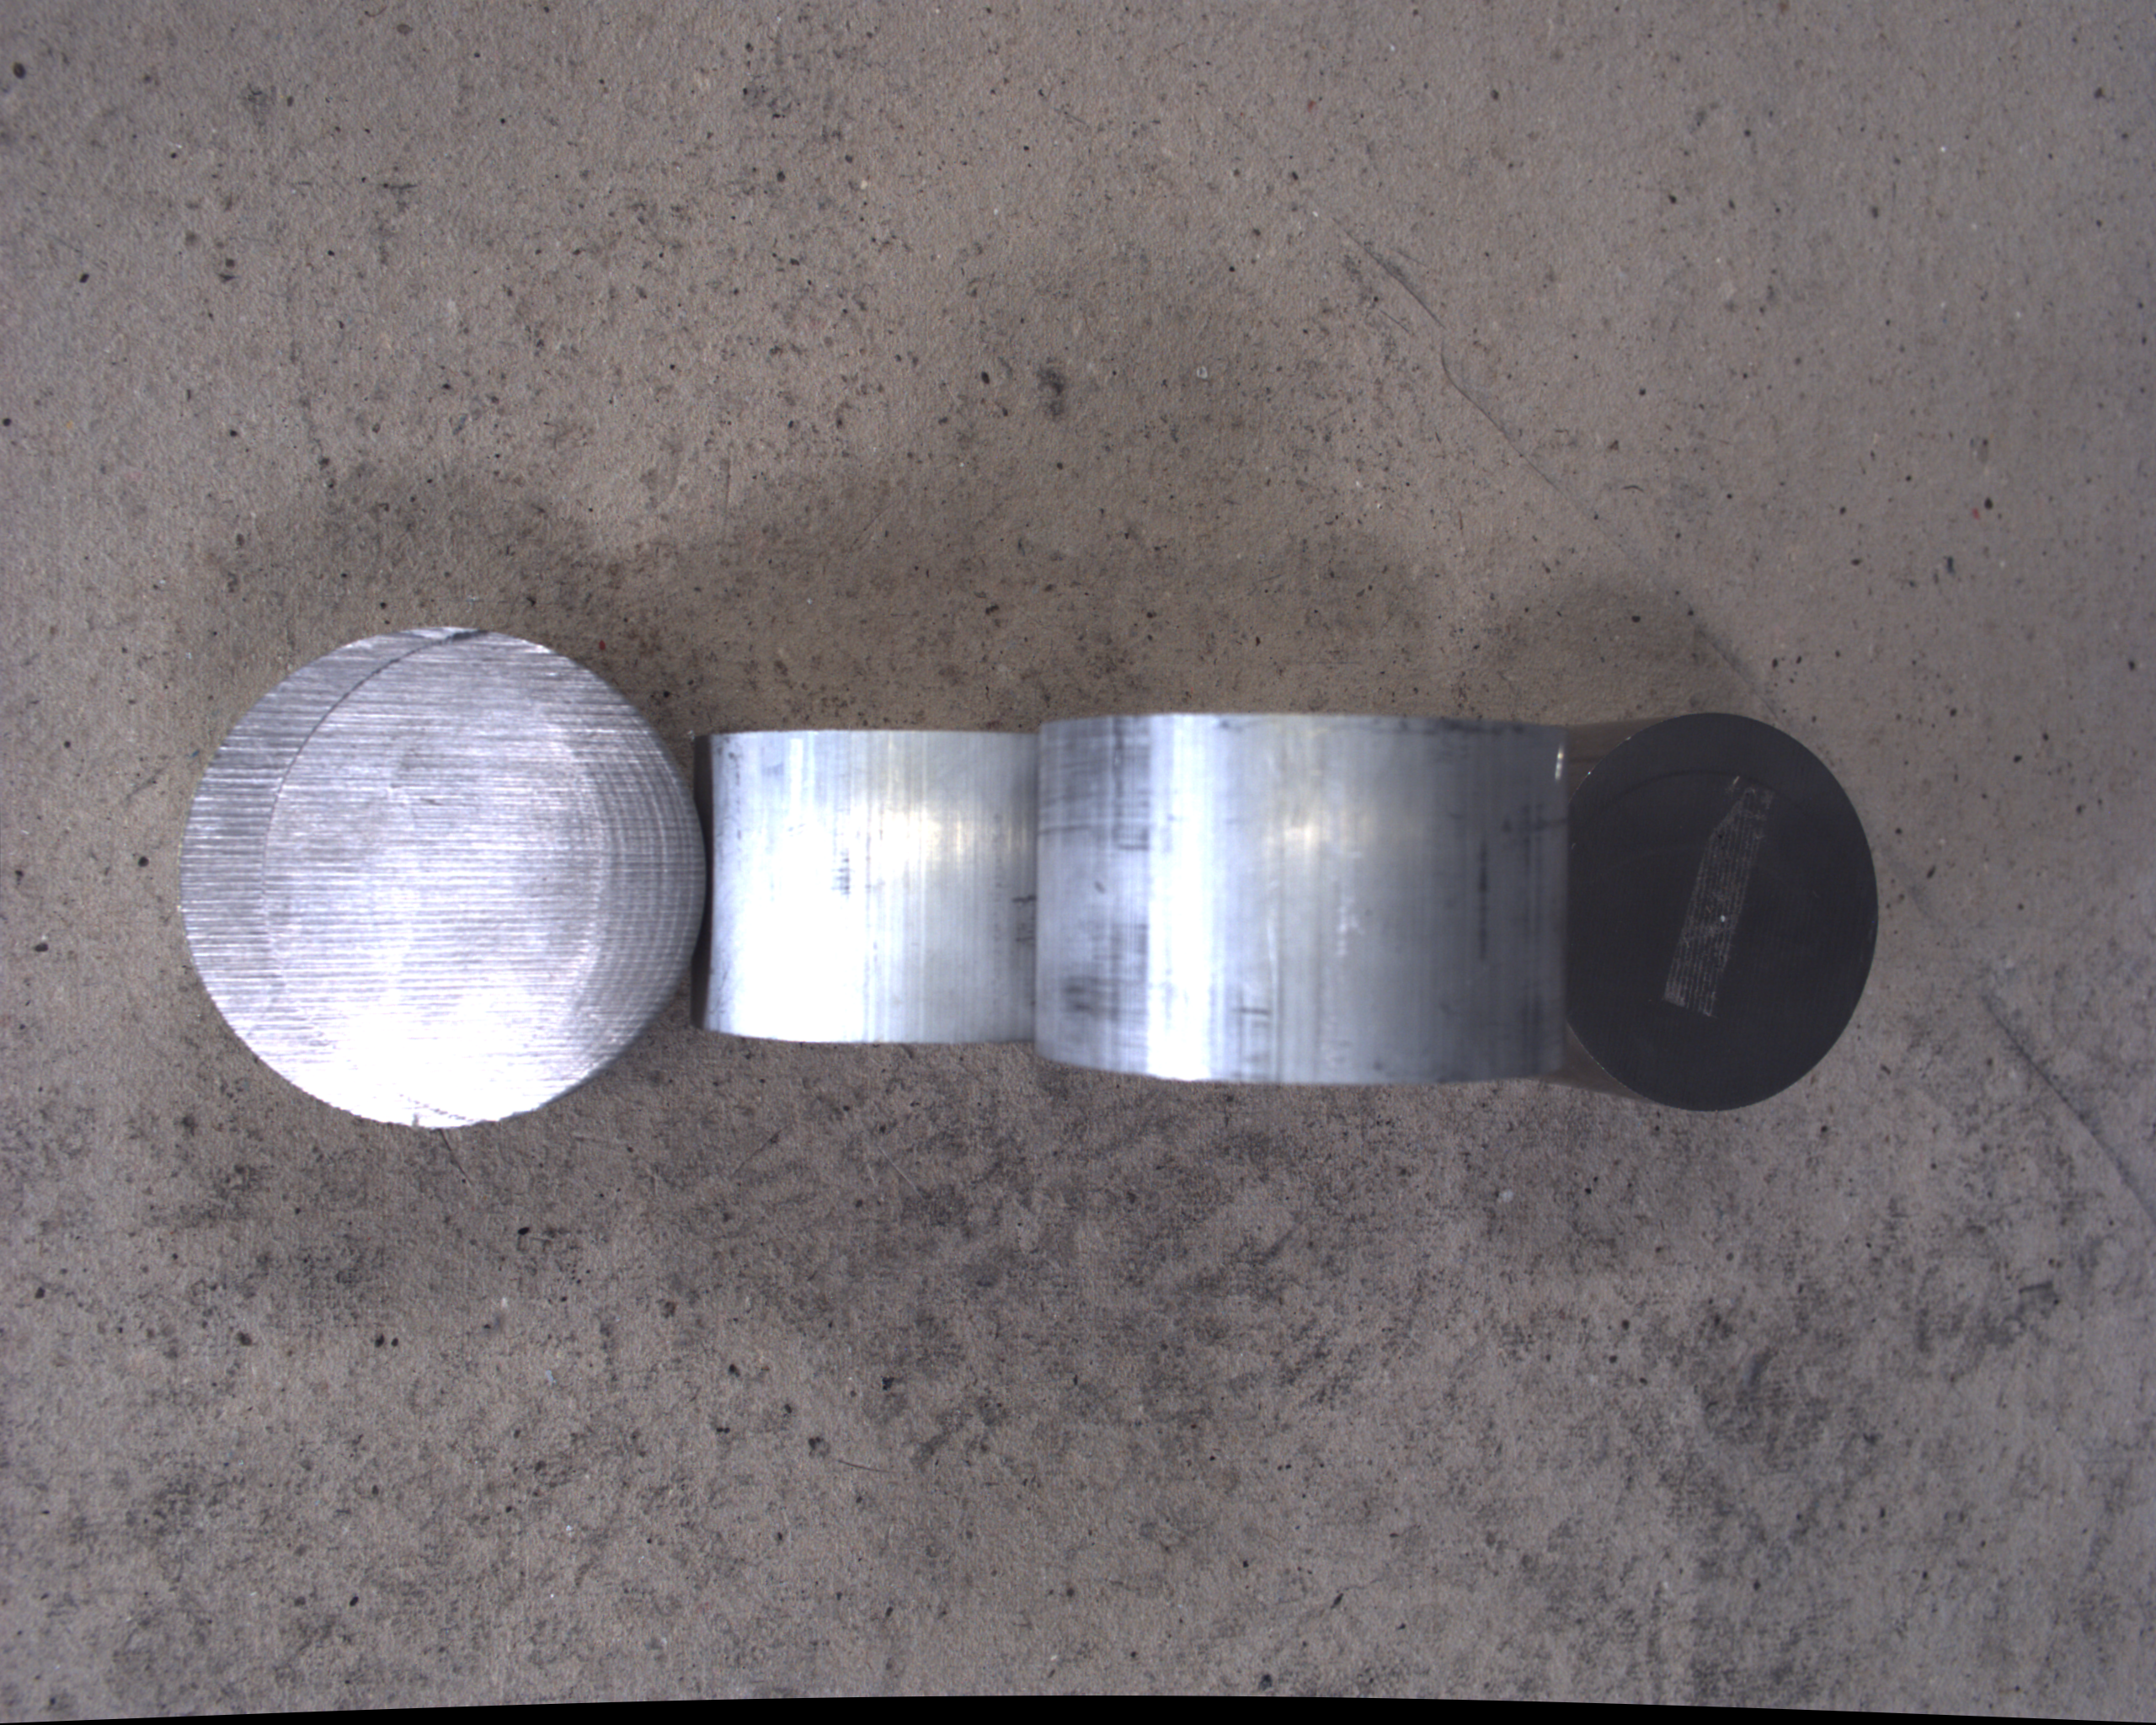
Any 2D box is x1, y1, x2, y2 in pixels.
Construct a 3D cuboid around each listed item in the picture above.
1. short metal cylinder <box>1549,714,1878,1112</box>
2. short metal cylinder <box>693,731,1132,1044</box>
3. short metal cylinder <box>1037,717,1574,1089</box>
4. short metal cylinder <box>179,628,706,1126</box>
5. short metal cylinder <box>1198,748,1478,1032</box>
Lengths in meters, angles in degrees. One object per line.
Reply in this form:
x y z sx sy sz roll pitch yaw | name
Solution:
0.119 0.010 0.440 0.081 0.050 0.080 0 91 -21 | short metal cylinder
-0.028 0.004 0.371 0.081 0.080 0.050 0 90 -20 | short metal cylinder
0.034 0.005 0.320 0.081 0.080 0.050 1 91 -20 | short metal cylinder
-0.109 0.002 0.357 0.081 0.050 0.080 0 90 -21 | short metal cylinder
0.048 0.005 0.399 0.081 0.080 0.050 0 89 -20 | short metal cylinder
